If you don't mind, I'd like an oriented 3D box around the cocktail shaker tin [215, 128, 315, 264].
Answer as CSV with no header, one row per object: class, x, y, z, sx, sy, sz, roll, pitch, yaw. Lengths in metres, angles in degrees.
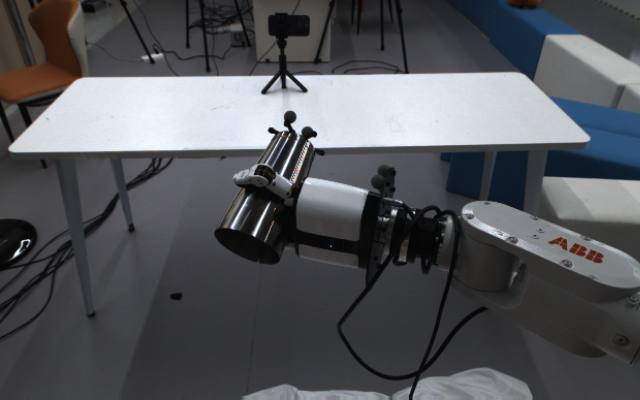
cocktail shaker tin,-0.067,-0.008,0.658,0.093,0.093,0.170,14,61,17
